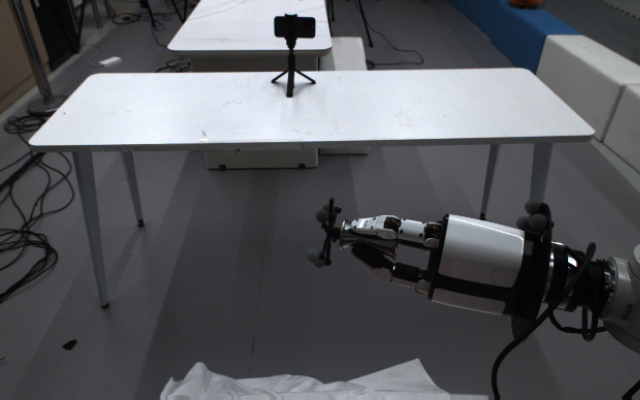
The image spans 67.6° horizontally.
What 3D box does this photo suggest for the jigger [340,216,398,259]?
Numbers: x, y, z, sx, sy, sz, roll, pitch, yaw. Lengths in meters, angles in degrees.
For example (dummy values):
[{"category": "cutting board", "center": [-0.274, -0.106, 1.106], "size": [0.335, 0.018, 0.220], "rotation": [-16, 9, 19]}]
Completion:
[{"category": "jigger", "center": [0.068, 0.043, 0.596], "size": [0.071, 0.043, 0.043], "rotation": [7, 35, 12]}]
